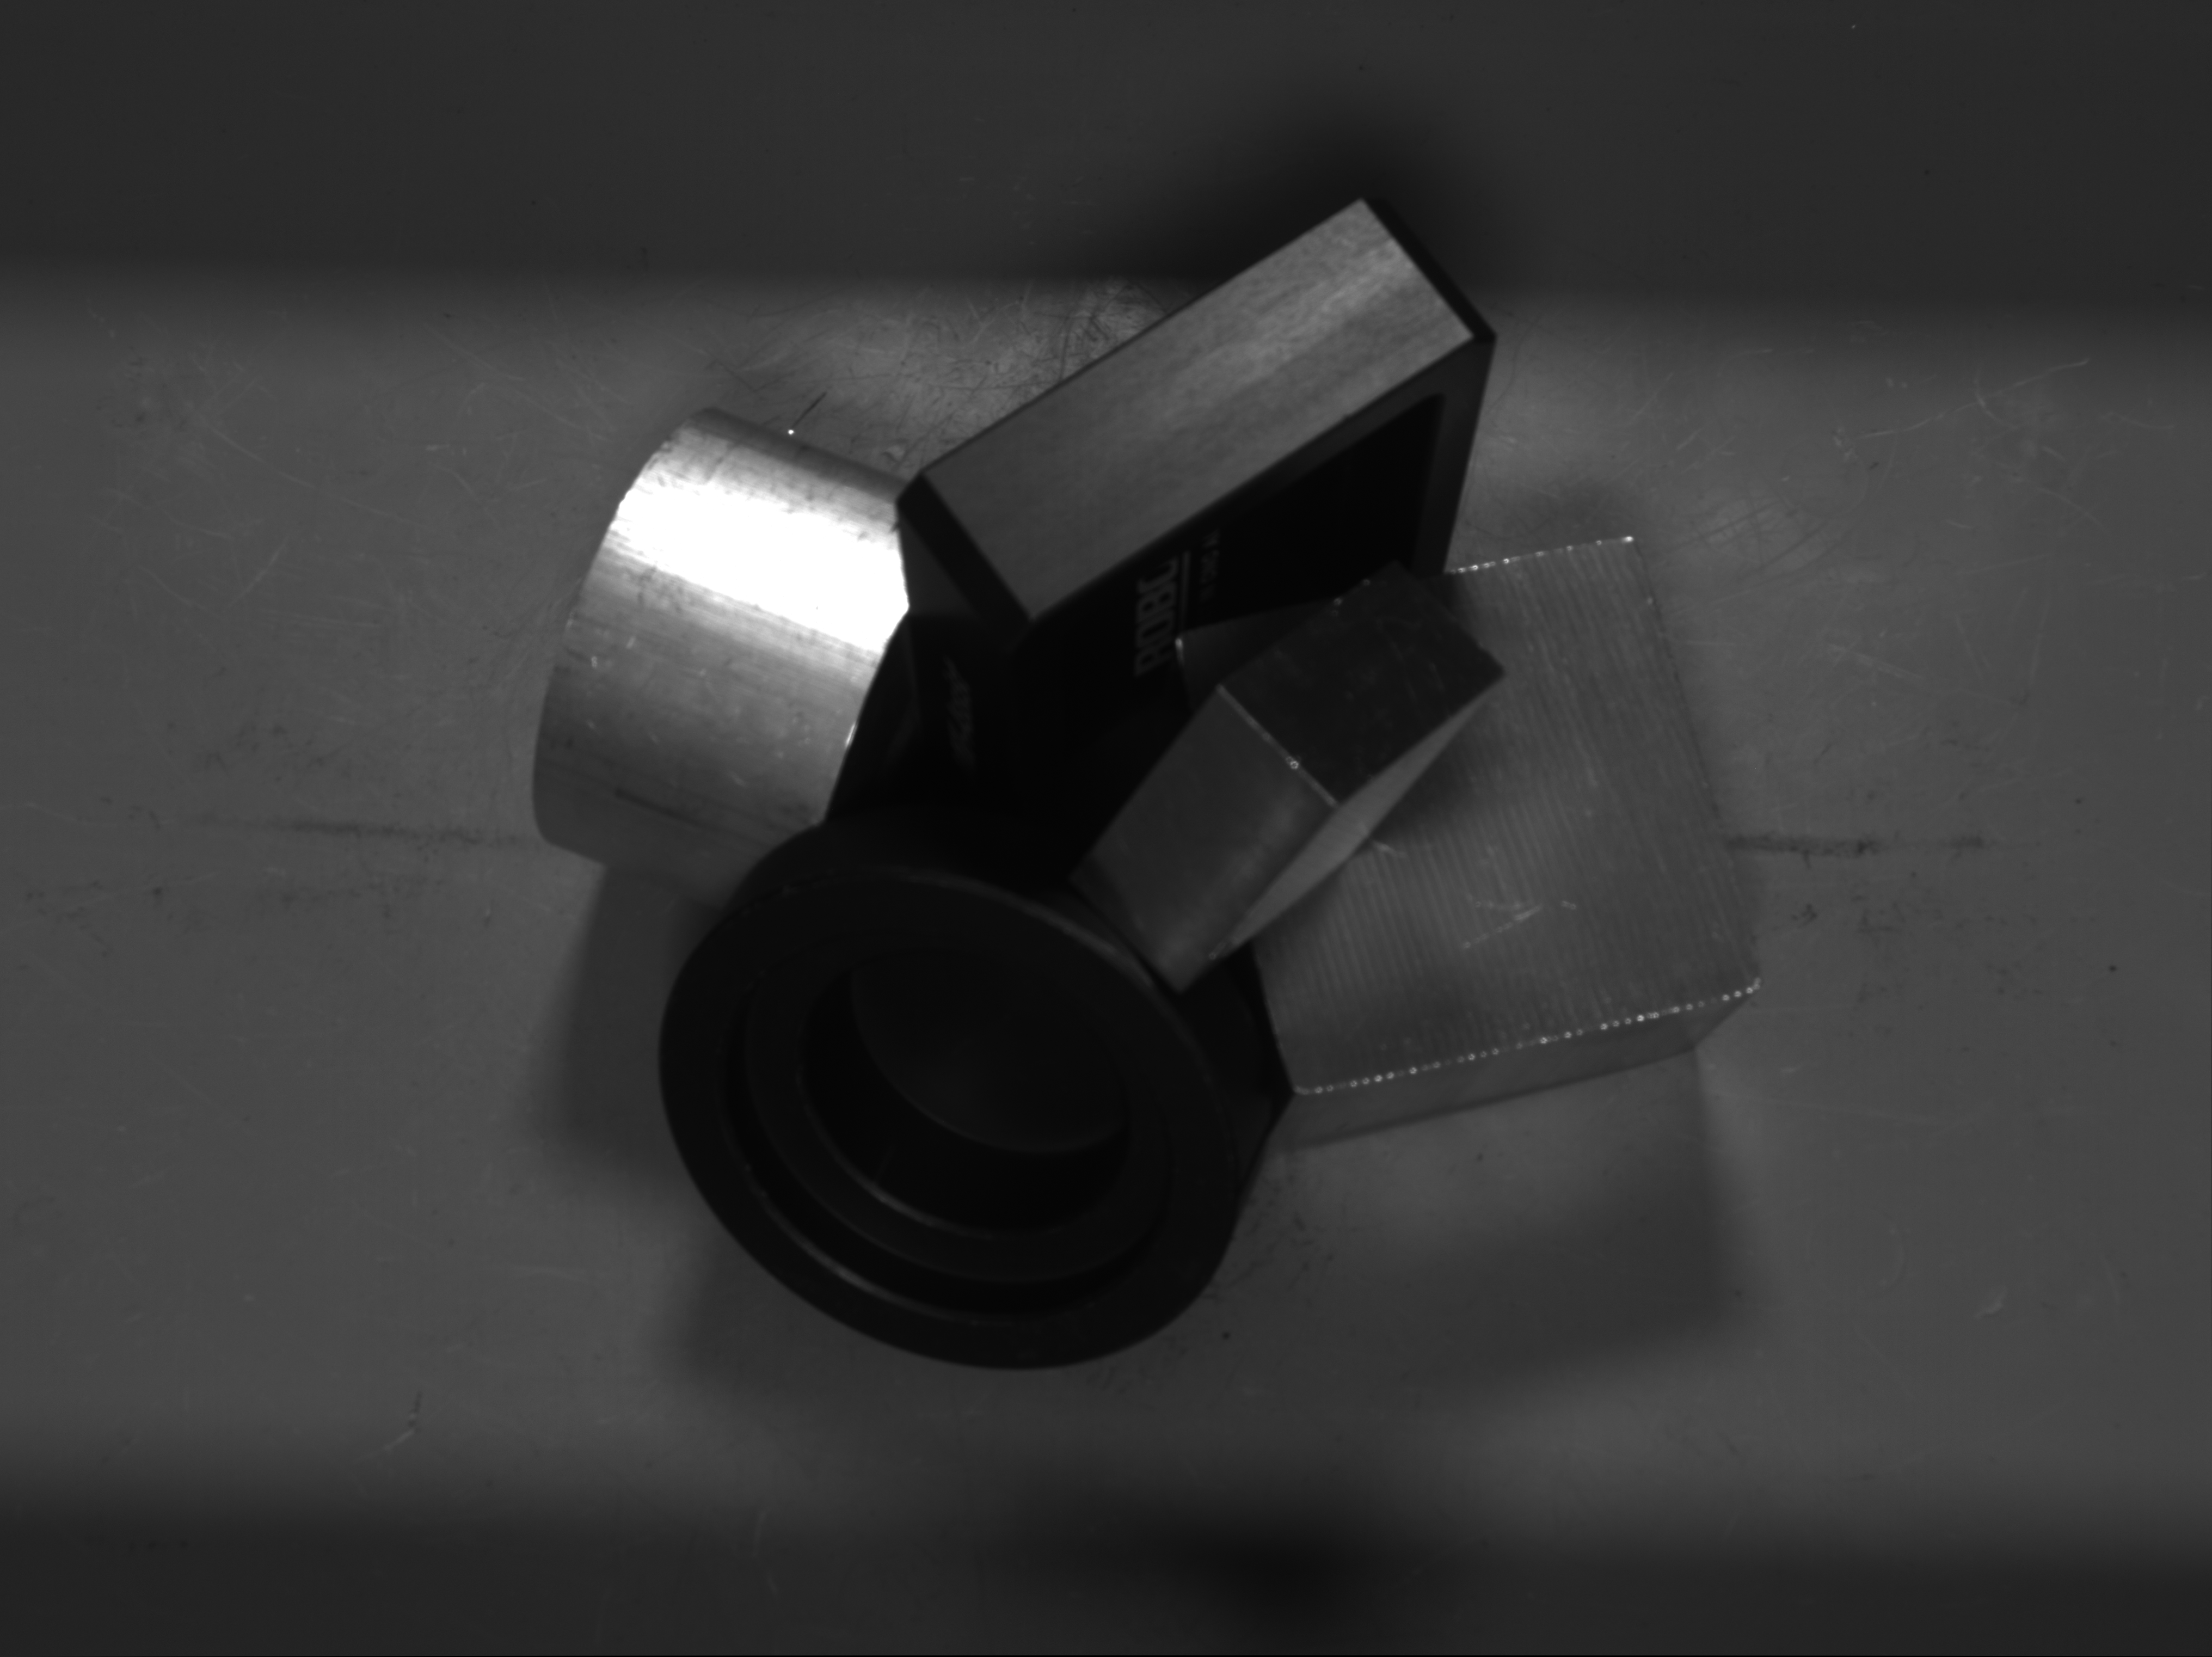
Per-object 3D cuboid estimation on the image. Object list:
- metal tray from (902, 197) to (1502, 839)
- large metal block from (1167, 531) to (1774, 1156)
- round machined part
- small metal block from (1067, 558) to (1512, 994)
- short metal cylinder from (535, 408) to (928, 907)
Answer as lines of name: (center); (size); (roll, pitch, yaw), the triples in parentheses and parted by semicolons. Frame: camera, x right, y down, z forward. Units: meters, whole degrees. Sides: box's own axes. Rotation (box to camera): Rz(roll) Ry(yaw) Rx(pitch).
metal tray: (0.014, -0.041, 0.603); (0.090, 0.130, 0.030); (-33, 74, -12)
large metal block: (0.059, 0.004, 0.621); (0.080, 0.050, 0.080); (-13, 75, -5)
round machined part: (-0.020, 0.038, 0.601); (0.098, 0.098, 0.042); (19, 35, 7)
small metal block: (0.028, -0.008, 0.561); (0.025, 0.050, 0.050); (46, 44, 8)
short metal cylinder: (-0.056, -0.025, 0.624); (0.050, 0.080, 0.080); (21, 71, 8)
